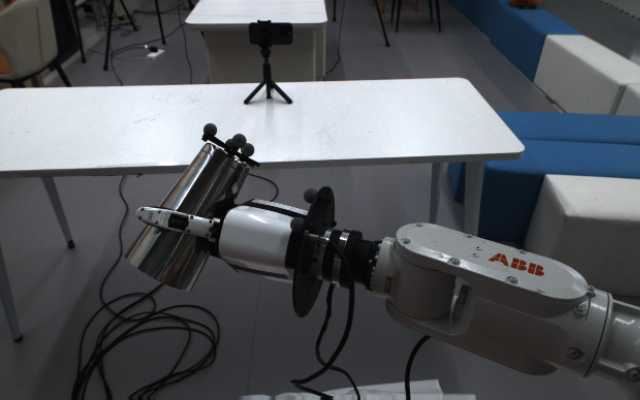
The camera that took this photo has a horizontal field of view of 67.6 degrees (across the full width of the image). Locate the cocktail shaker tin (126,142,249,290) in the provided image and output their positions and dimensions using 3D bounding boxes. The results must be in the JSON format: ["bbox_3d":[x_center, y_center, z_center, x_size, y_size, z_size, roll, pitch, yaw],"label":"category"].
[{"bbox_3d":[-0.160,0.014,0.612,0.093,0.093,0.170,26,83,31],"label":"cocktail shaker tin"}]
